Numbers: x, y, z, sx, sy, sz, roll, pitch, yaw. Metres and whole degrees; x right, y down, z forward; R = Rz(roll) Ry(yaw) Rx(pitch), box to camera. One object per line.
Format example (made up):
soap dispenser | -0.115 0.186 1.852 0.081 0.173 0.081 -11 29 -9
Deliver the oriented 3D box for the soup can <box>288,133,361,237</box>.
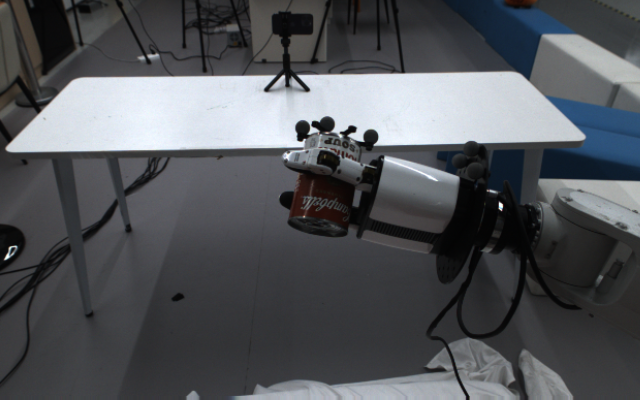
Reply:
soup can | 0.008 -0.016 0.538 0.067 0.067 0.101 8 72 9
